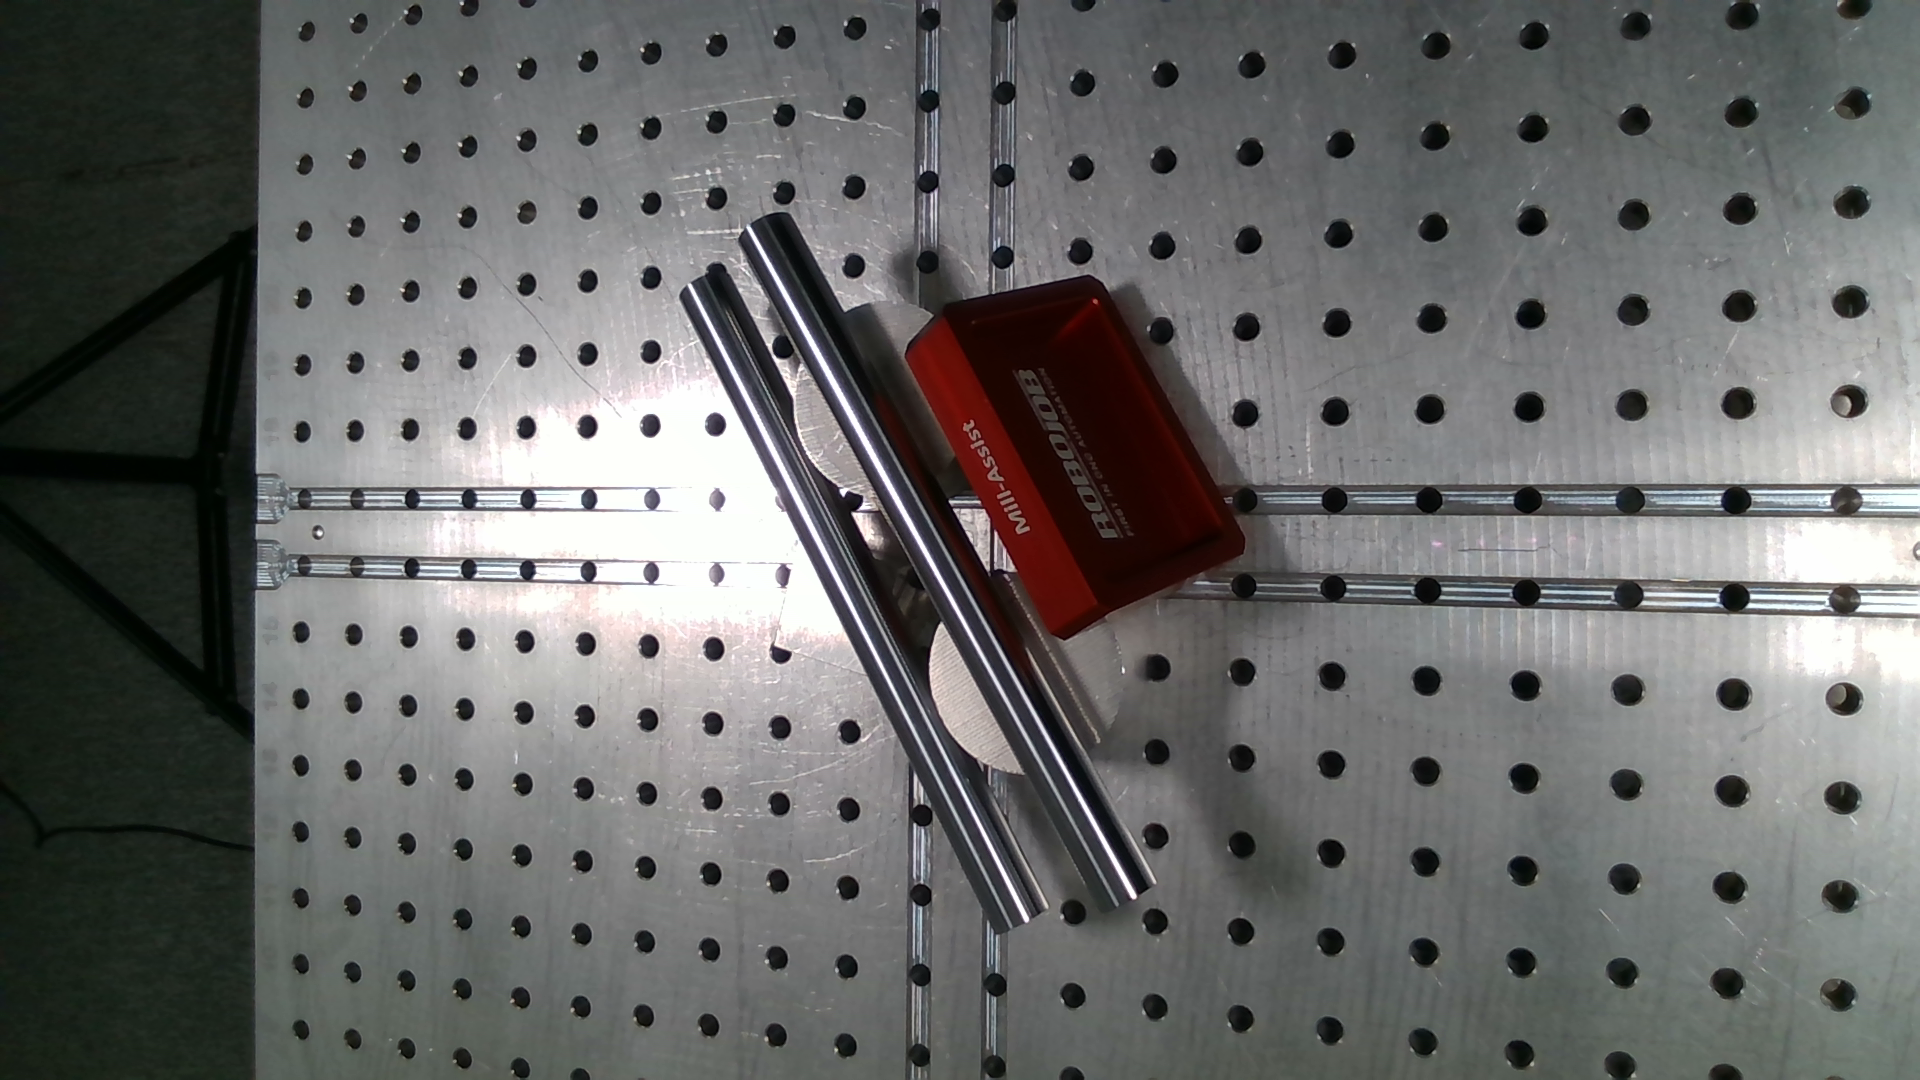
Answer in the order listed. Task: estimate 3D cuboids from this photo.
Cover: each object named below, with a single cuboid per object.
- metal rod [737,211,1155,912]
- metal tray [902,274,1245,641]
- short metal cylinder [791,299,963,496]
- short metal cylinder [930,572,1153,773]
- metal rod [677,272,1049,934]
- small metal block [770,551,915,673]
[{"bbox_3d":[-0.009,0.003,0.537,0.025,0.025,0.300,-32,80,18],"label":"metal rod"},{"bbox_3d":[0.045,-0.036,0.535,0.030,0.090,0.130,-38,76,49],"label":"metal tray"},{"bbox_3d":[-0.024,-0.058,0.583,0.080,0.050,0.080,0,90,20],"label":"short metal cylinder"},{"bbox_3d":[0.034,0.052,0.563,0.080,0.050,0.080,0,90,20],"label":"short metal cylinder"},{"bbox_3d":[-0.044,0.021,0.577,0.025,0.025,0.300,-30,80,18],"label":"metal rod"},{"bbox_3d":[-0.051,0.028,0.606,0.050,0.025,0.050,16,96,19],"label":"small metal block"}]
